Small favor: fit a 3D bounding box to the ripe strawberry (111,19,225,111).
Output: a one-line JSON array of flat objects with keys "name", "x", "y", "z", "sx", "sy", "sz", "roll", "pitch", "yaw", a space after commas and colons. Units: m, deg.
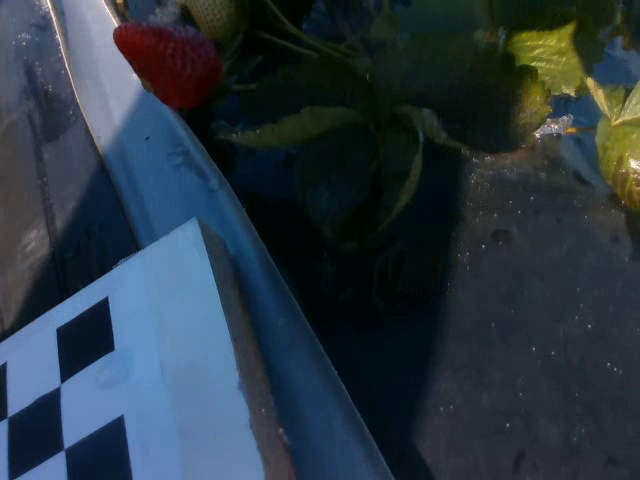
[{"name": "ripe strawberry", "x": -0.059, "y": -0.069, "z": 0.223, "sx": 0.038, "sy": 0.036, "sz": 0.045, "roll": -44, "pitch": -44, "yaw": 20}]
